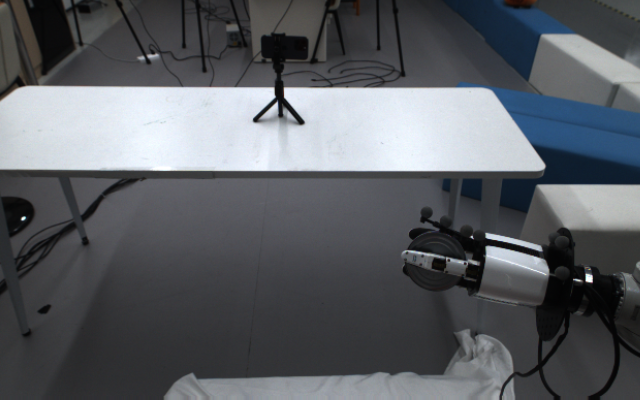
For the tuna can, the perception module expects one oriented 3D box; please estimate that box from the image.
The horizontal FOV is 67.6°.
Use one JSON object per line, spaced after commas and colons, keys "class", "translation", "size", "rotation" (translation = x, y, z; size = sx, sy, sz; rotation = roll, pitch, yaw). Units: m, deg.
{"class": "tuna can", "translation": [0.170, 0.086, 0.702], "size": [0.085, 0.085, 0.034], "rotation": [13, 2, 16]}
